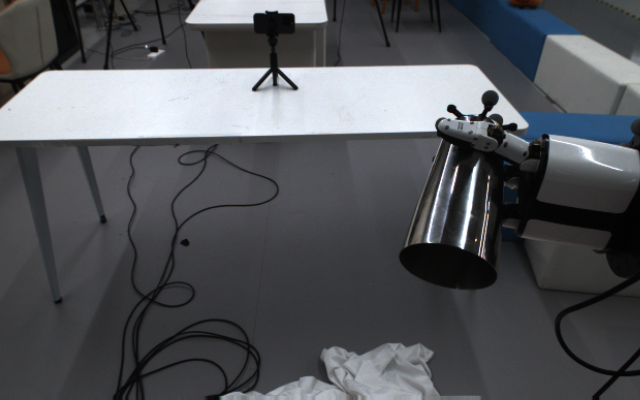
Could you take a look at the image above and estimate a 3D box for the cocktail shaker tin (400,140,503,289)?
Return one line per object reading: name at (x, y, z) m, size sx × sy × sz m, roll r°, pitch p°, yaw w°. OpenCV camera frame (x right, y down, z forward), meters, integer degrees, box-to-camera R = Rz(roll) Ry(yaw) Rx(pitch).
cocktail shaker tin at (0.148, -0.008, 0.503) m, size 0.093 × 0.093 × 0.170 m, roll 13°, pitch 59°, yaw 16°
